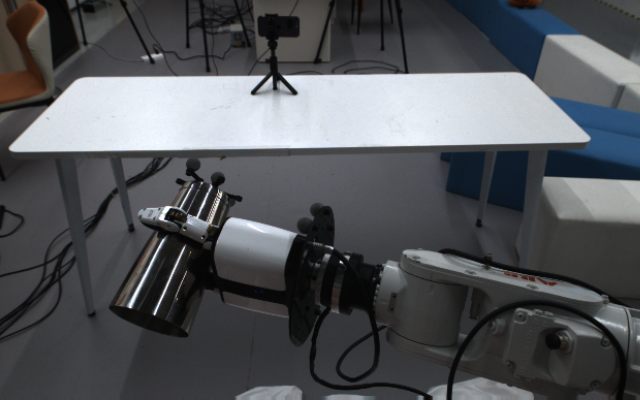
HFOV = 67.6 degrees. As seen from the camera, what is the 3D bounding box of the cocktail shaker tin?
[{"bbox_3d":[-0.164,0.067,0.572,0.093,0.093,0.170,10,60,11],"label":"cocktail shaker tin"}]
